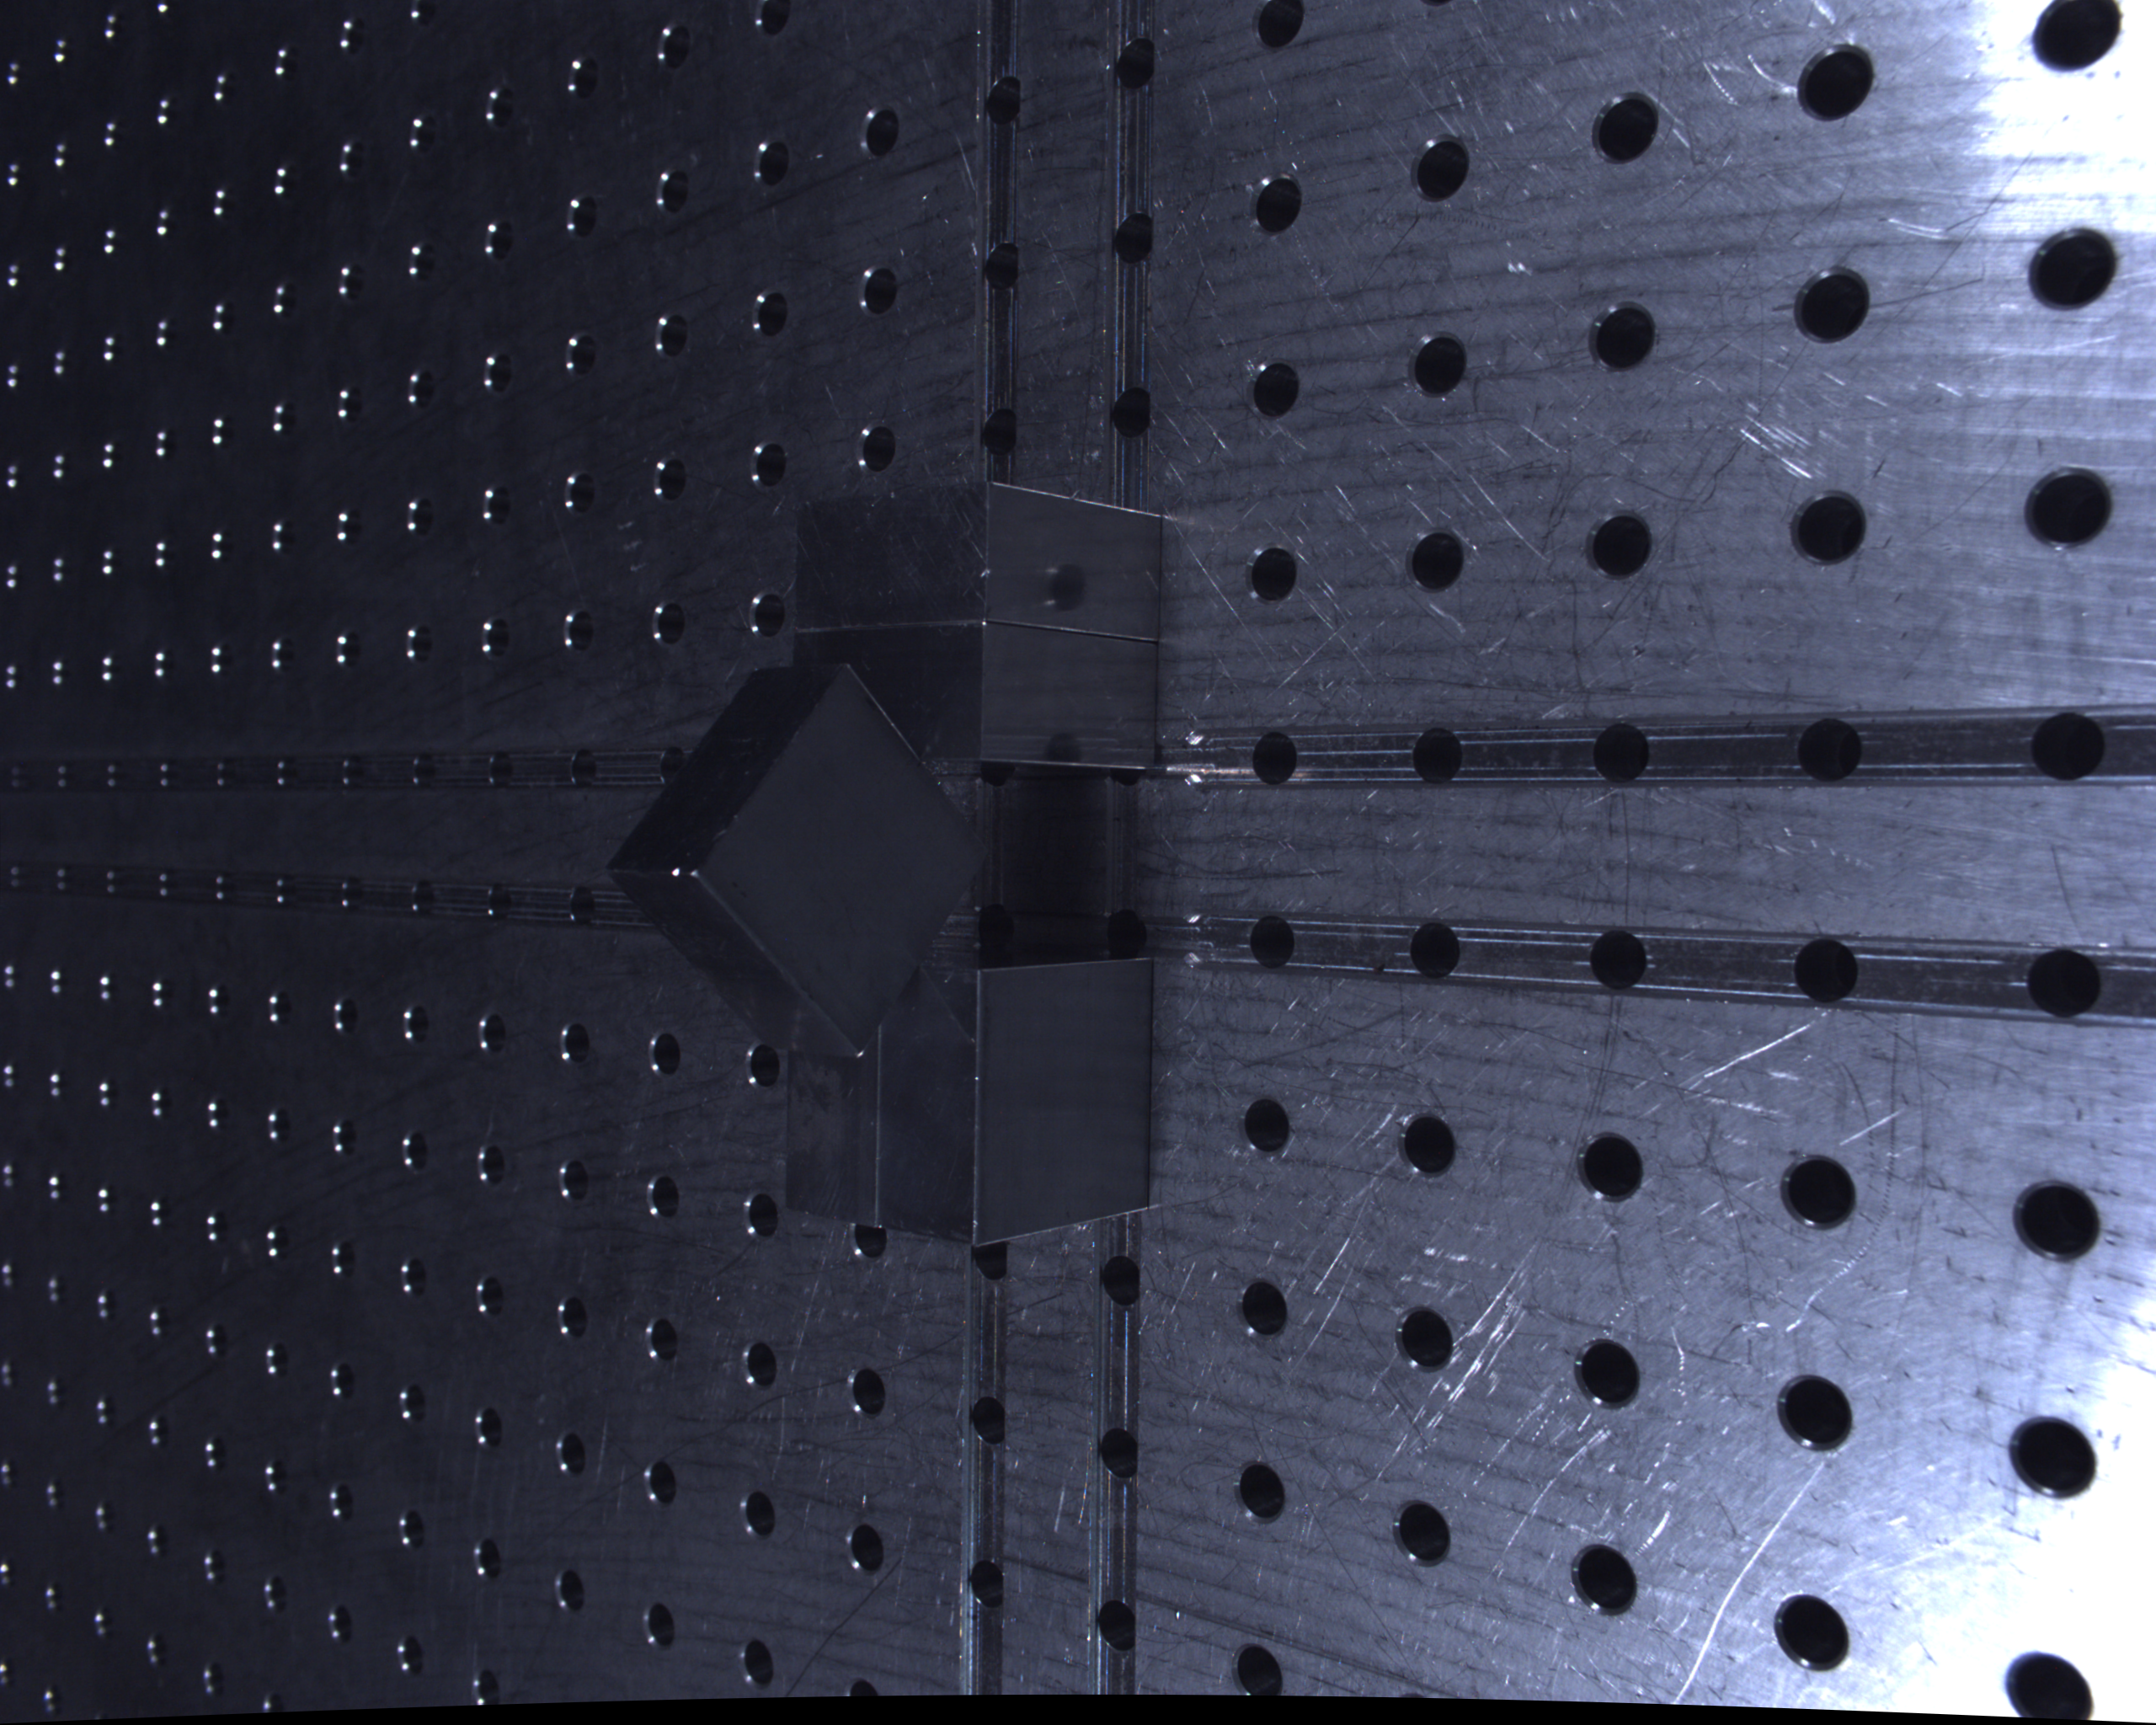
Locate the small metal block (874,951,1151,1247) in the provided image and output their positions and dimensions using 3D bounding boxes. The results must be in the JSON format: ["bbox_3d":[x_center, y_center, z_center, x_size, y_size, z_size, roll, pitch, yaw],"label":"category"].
[{"bbox_3d":[-0.012,0.043,0.399,0.025,0.050,0.050,2,91,40],"label":"small metal block"}]

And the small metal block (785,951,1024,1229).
[{"bbox_3d":[-0.031,0.043,0.416,0.025,0.050,0.050,2,91,40],"label":"small metal block"}]

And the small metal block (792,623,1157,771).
[{"bbox_3d":[-0.020,-0.031,0.407,0.050,0.050,0.025,3,92,39],"label":"small metal block"}]

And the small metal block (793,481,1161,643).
[{"bbox_3d":[-0.019,-0.057,0.406,0.050,0.050,0.025,3,92,39],"label":"small metal block"}]

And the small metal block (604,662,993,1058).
[{"bbox_3d":[-0.049,-0.001,0.377,0.025,0.050,0.050,1,48,40],"label":"small metal block"}]
